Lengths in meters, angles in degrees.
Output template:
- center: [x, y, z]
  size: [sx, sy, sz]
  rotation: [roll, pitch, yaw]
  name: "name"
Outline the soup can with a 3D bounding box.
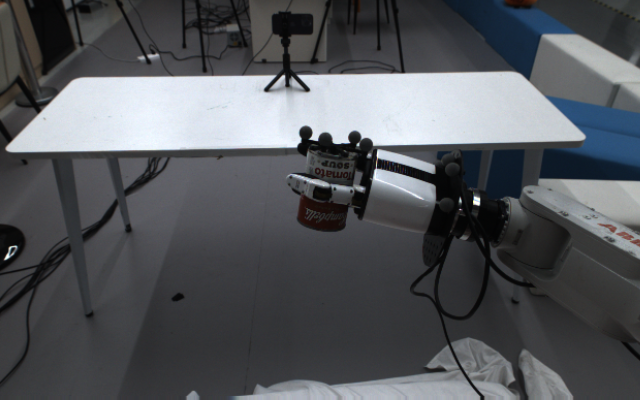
- center: [0.011, -0.017, 0.641]
  size: [0.067, 0.101, 0.067]
  rotation: [9, 19, -3]
  name: "soup can"
